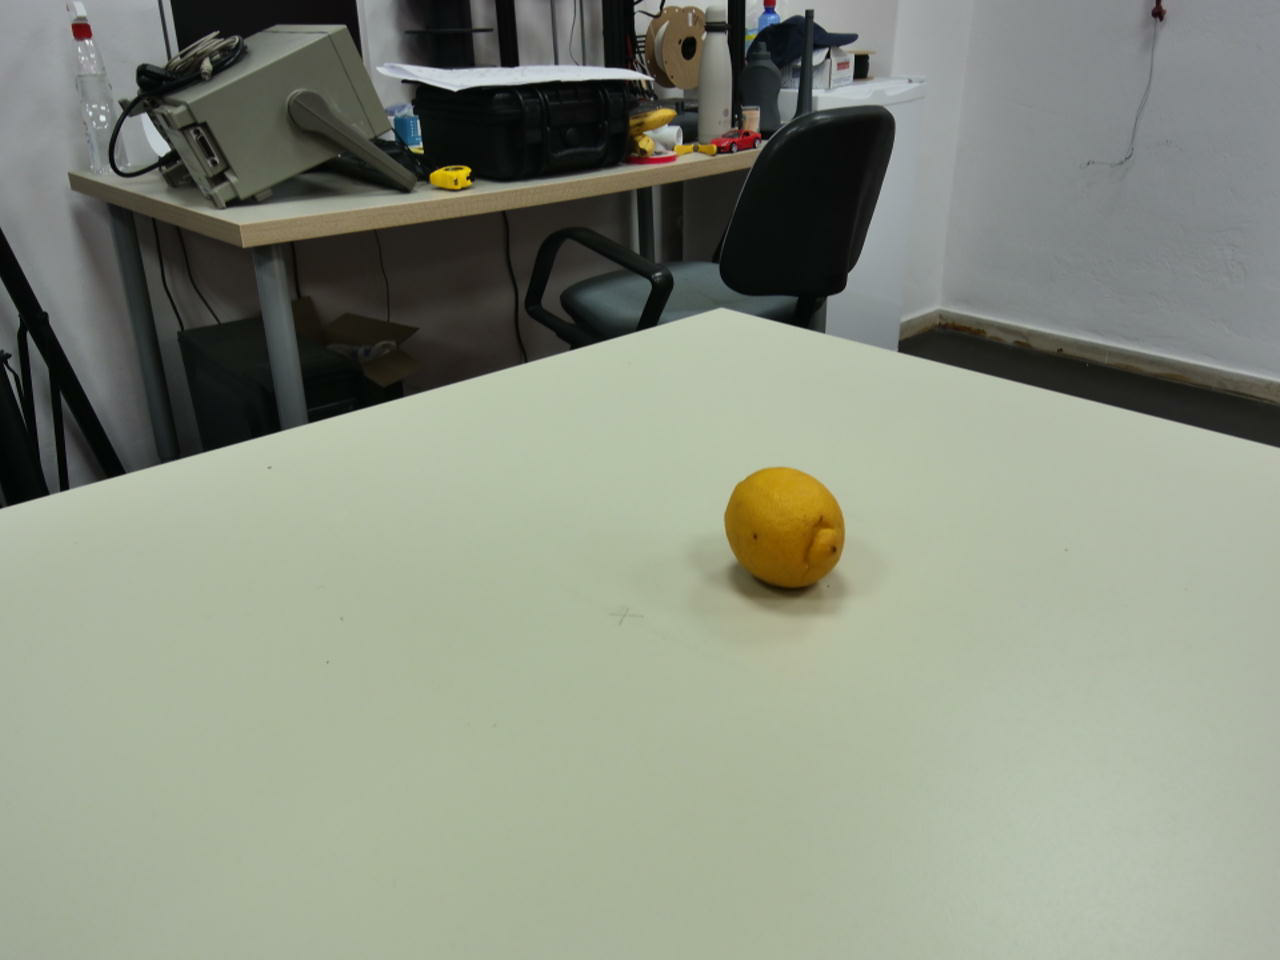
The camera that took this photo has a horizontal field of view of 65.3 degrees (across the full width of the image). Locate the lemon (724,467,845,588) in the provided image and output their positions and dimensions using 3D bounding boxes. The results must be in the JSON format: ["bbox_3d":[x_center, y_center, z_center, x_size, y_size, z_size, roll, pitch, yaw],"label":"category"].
[{"bbox_3d":[0.075,0.025,0.522,0.061,0.059,0.067,0,23,1],"label":"lemon"}]
